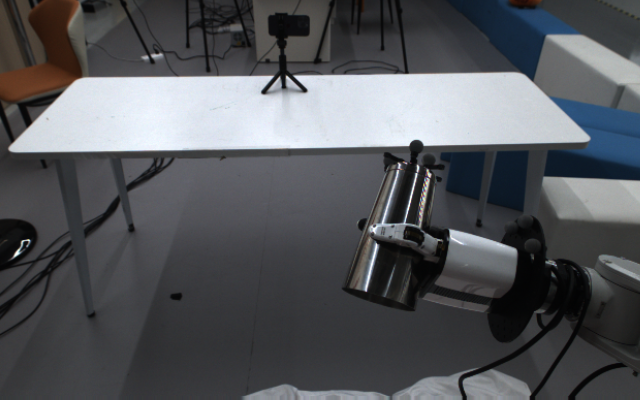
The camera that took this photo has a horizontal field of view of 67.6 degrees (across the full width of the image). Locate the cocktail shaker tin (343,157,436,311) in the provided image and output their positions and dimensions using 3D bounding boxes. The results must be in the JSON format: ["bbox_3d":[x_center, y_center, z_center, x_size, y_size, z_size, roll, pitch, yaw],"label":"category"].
[{"bbox_3d":[0.095,0.043,0.606,0.093,0.093,0.170,14,74,16],"label":"cocktail shaker tin"}]
